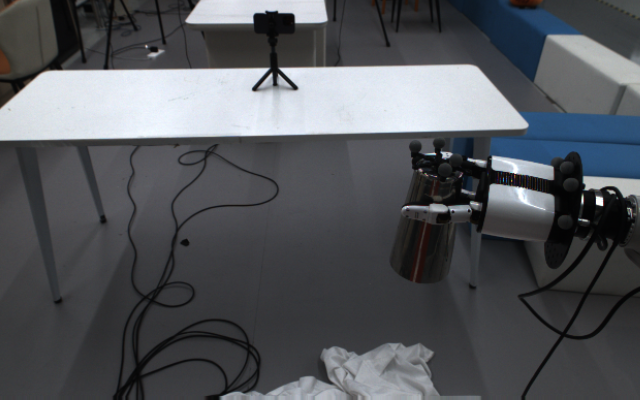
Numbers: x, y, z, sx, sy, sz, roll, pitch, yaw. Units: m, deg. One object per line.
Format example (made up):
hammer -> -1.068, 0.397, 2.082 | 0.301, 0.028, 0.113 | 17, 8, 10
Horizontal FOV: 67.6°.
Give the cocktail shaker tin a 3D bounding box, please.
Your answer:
cocktail shaker tin -> 0.161, 0.023, 0.707 | 0.093, 0.170, 0.093 | 3, 33, -2
